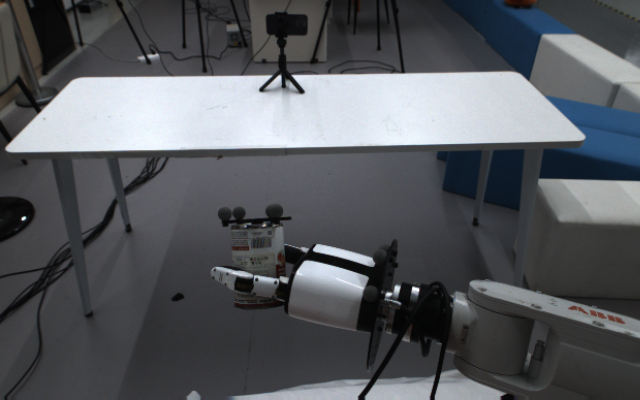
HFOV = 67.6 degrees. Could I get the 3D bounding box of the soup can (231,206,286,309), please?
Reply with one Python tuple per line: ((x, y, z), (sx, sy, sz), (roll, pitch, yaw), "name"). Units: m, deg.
((-0.076, 0.082, 0.608), (0.067, 0.101, 0.067), (-3, -1, 0), "soup can")
